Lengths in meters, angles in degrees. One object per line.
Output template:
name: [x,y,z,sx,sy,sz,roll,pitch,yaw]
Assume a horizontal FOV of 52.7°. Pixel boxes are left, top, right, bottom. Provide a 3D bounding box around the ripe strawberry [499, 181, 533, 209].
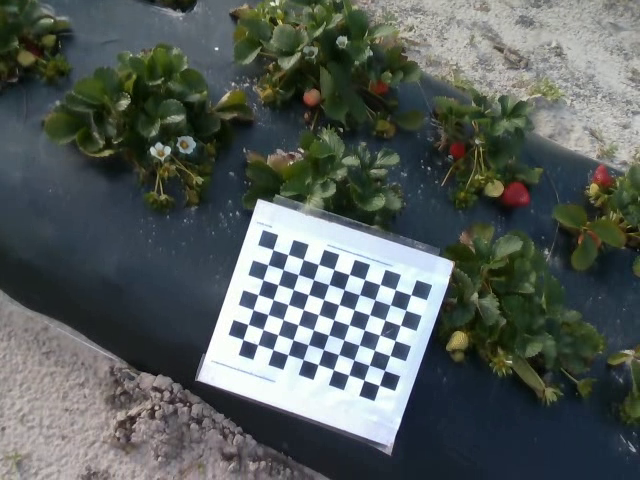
ripe strawberry: [0.359,-0.075,1.171,0.051,0.048,0.055,-38,35,3]
